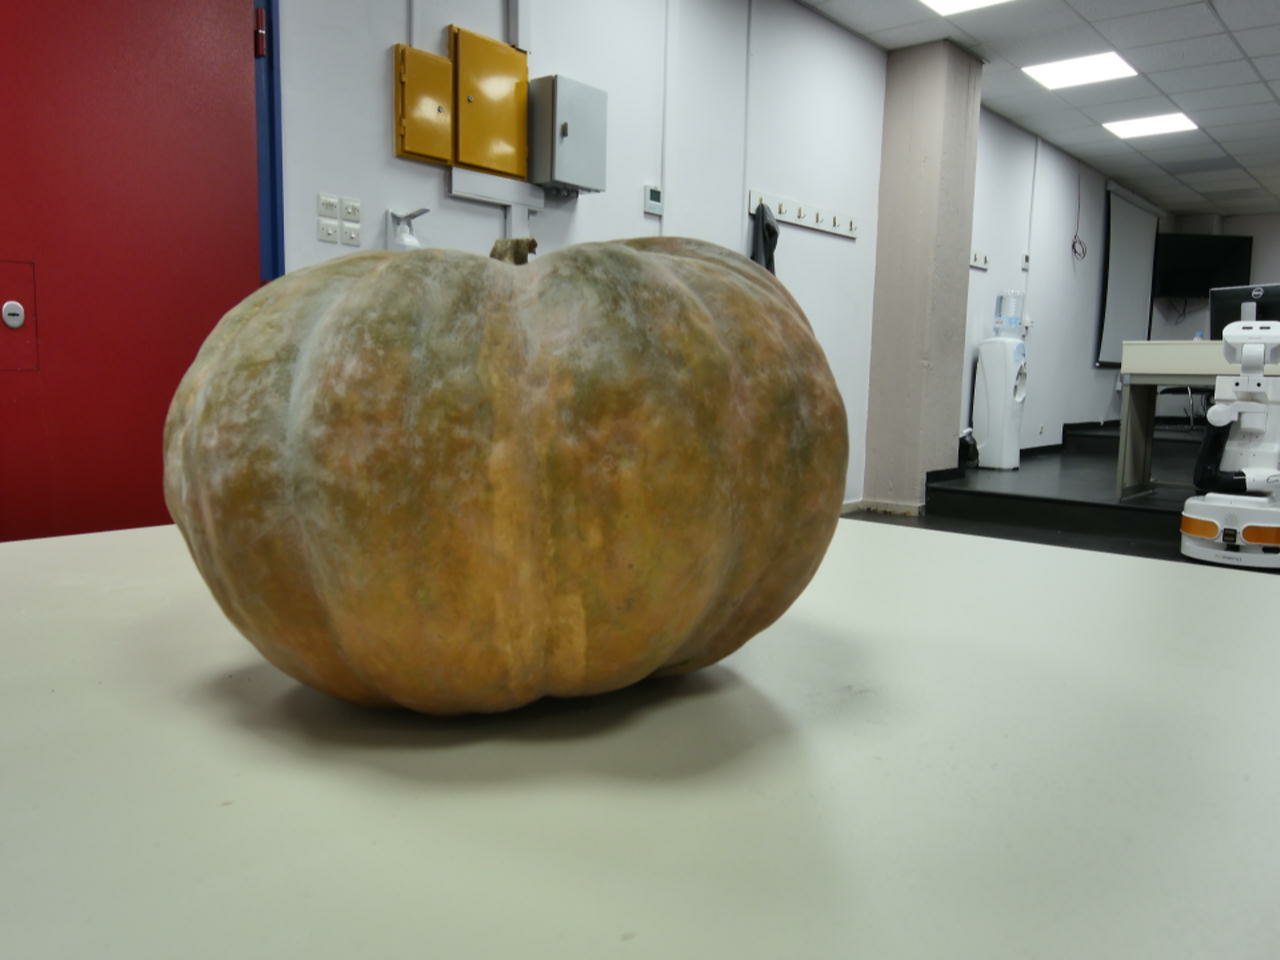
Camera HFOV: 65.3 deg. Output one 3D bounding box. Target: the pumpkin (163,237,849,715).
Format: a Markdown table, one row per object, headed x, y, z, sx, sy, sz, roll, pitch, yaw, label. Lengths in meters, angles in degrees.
| x | y | z | sx | sy | sz | roll | pitch | yaw | label |
| --- | --- | --- | --- | --- | --- | --- | --- | --- | --- |
| -0.048 | -0.009 | 0.382 | 0.252 | 0.168 | 0.252 | 1 | 4 | 0 | pumpkin |
